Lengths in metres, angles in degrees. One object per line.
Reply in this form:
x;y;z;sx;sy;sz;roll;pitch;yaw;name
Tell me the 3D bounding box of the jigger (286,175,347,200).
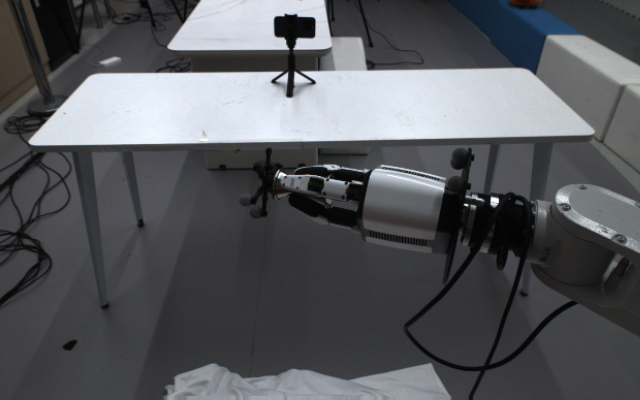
-0.013;-0.019;0.599;0.071;0.043;0.043;7;35;16;jigger
